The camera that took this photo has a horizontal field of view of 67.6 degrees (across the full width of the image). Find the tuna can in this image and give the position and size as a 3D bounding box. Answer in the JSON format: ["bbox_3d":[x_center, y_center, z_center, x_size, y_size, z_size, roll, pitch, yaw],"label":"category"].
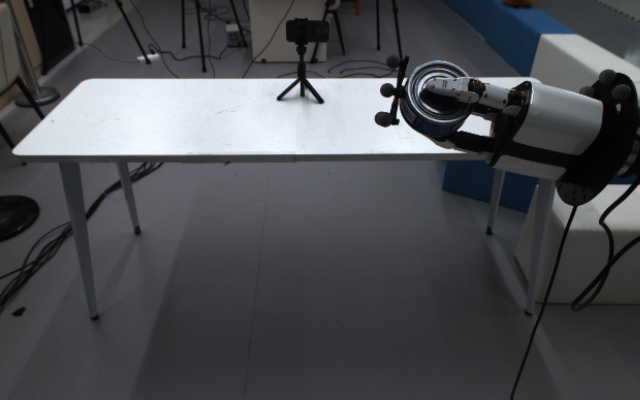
[{"bbox_3d":[0.143,-0.123,0.580,0.085,0.034,0.085,2,73,-5],"label":"tuna can"}]
